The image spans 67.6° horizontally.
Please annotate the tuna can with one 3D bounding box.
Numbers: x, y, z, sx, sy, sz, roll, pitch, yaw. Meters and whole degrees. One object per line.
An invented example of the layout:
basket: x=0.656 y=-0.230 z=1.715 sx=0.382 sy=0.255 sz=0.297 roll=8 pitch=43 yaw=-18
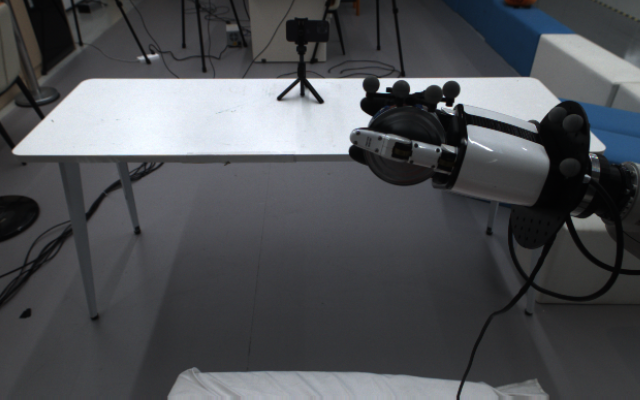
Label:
tuna can: x=0.092 y=-0.062 z=0.514 sx=0.085 sy=0.085 sz=0.034 roll=7 pitch=23 yaw=7
